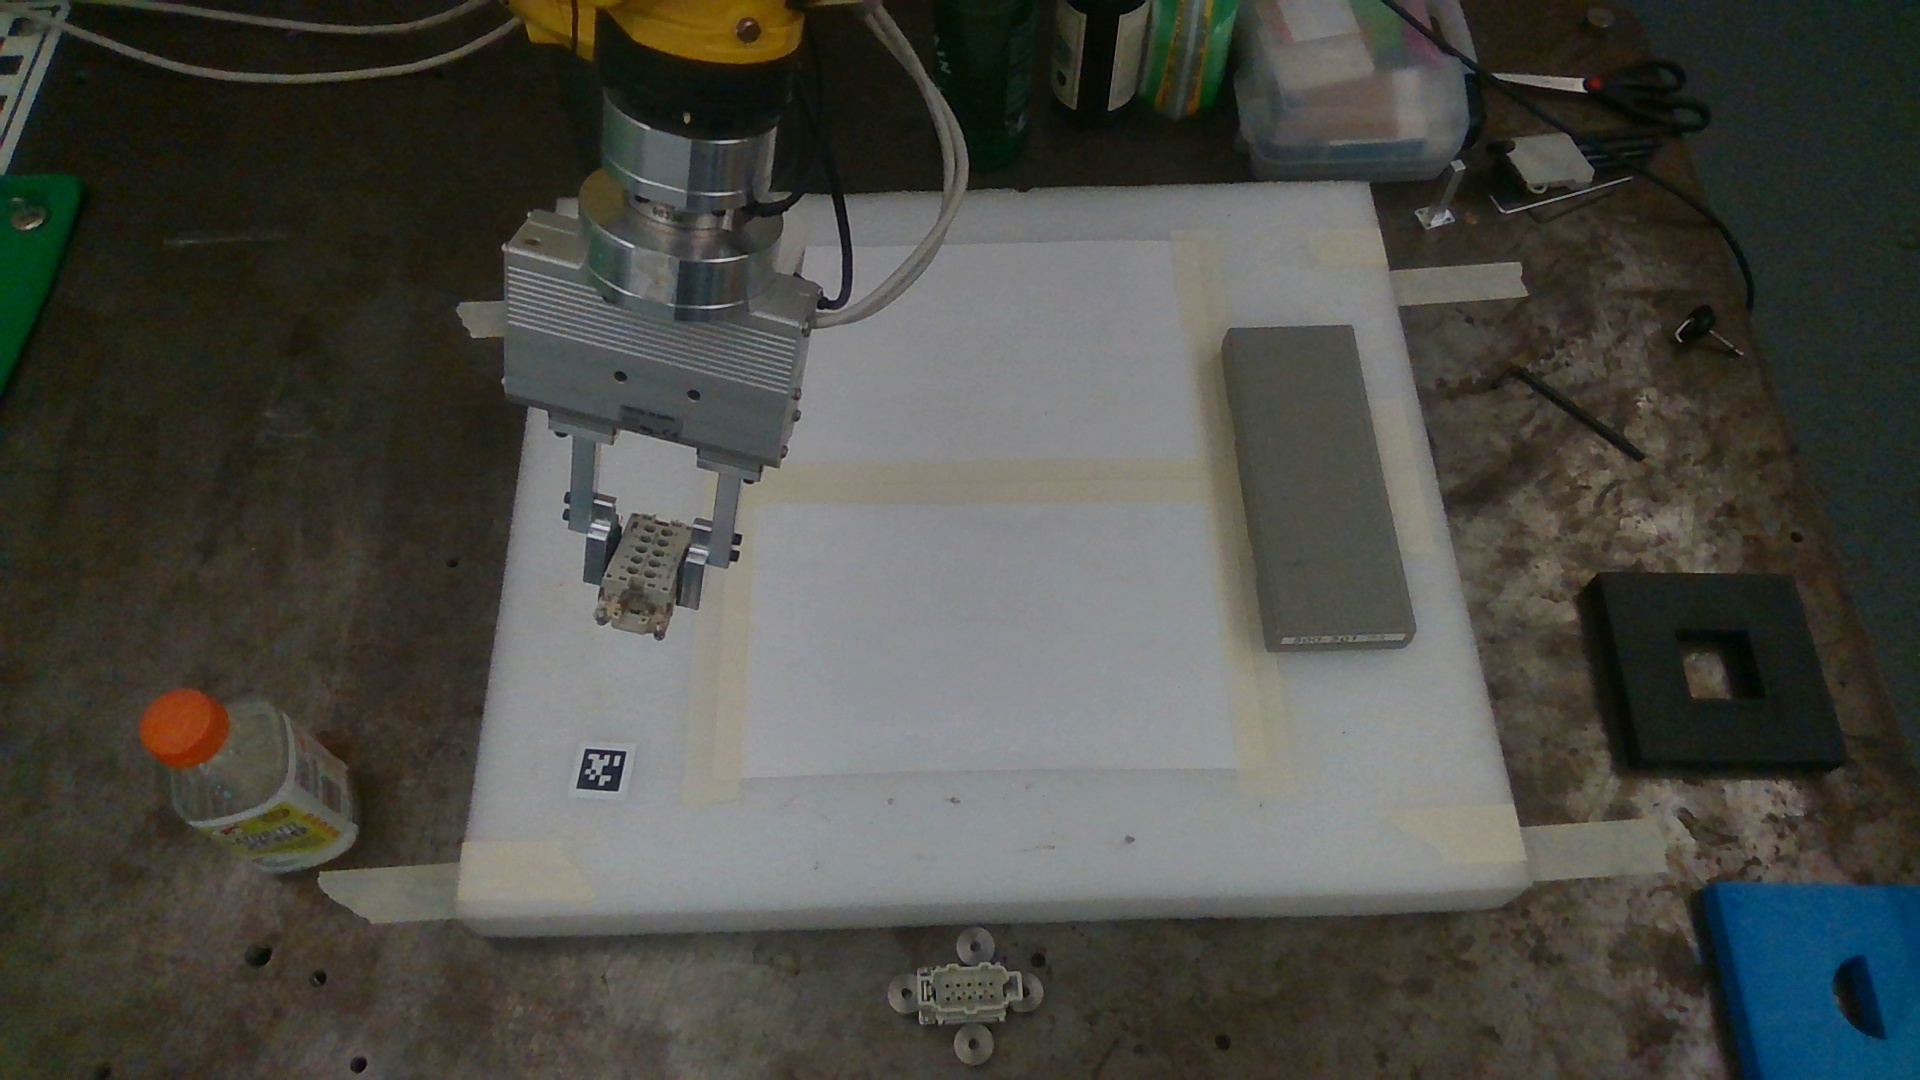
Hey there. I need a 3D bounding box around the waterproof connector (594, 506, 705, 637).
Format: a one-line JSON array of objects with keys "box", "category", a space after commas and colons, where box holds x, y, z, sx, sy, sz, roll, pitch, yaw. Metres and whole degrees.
[{"box": [-0.152, 0.016, 0.682, 0.037, 0.038, 0.069, 17, 50, -4], "category": "waterproof connector"}]
